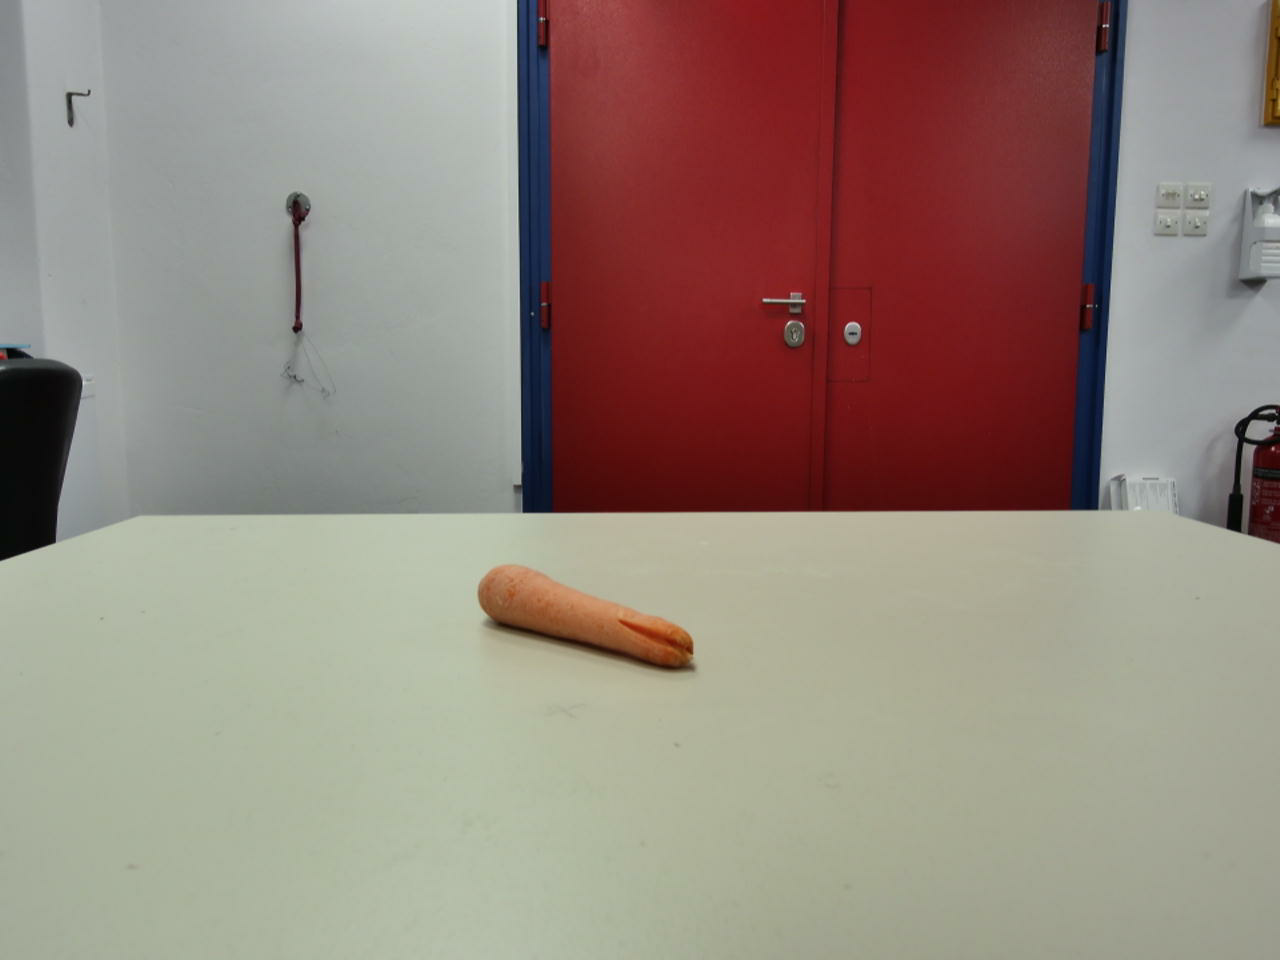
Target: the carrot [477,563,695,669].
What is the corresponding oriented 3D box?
[{"bbox_3d":[-0.029,0.061,0.465,0.136,0.032,0.030,5,6,44],"label":"carrot"}]
